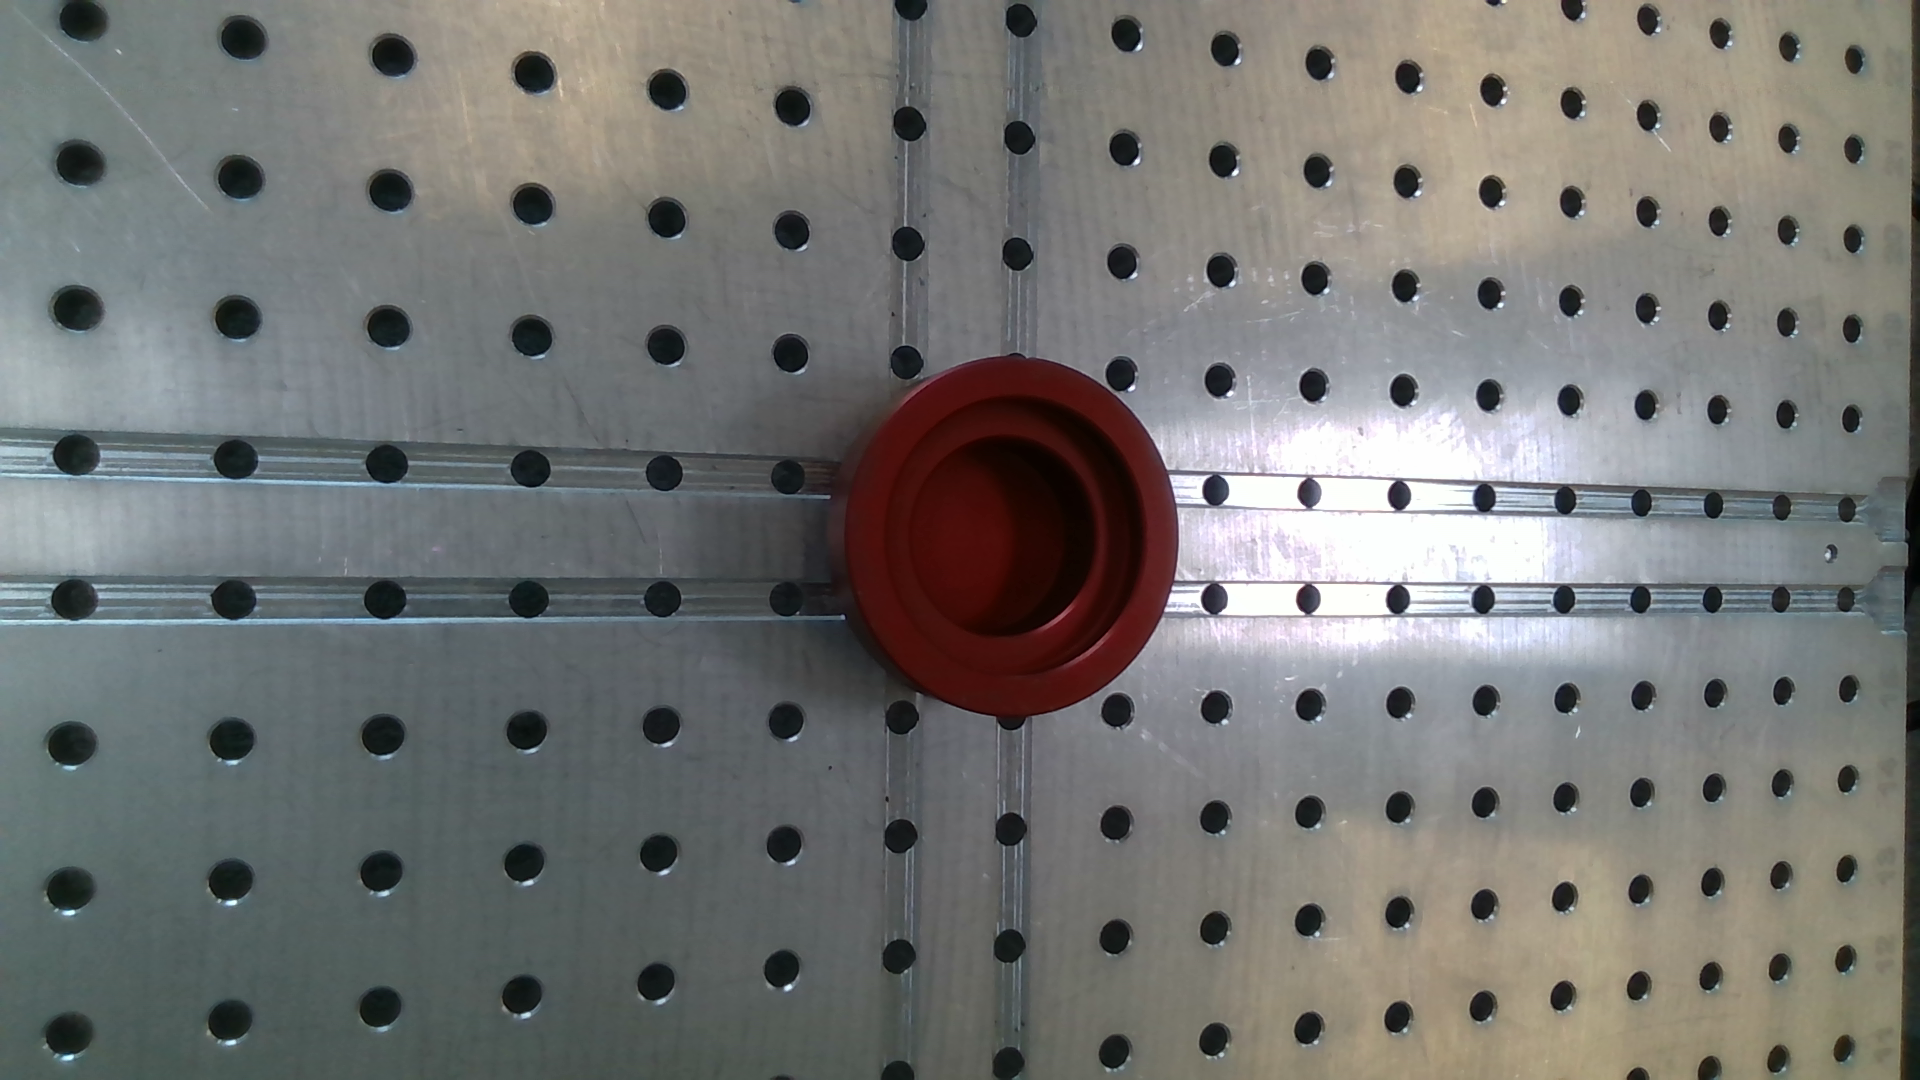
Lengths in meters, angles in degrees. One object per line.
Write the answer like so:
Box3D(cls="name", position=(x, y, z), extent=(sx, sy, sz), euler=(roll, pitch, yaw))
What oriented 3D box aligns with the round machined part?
Box3D(cls="round machined part", position=(0.009, -0.001, 0.390), extent=(0.098, 0.042, 0.098), euler=(0, 90, -20))
